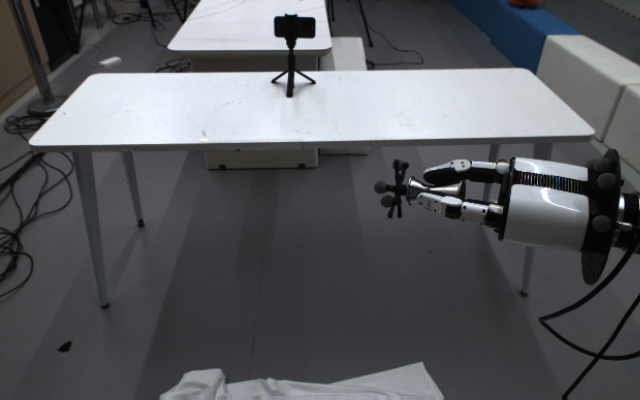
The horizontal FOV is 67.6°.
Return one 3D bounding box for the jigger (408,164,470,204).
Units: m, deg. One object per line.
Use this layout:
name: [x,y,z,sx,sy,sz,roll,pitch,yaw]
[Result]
jigger: [0.159,-0.015,0.635,0.071,0.043,0.043,6,33,26]
